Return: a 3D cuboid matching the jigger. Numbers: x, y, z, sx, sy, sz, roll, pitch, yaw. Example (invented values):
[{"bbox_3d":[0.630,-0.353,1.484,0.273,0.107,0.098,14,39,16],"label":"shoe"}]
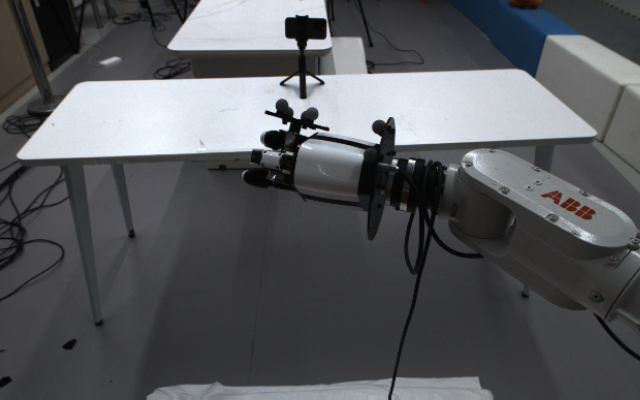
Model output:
[{"bbox_3d":[-0.044,-0.057,0.649,0.043,0.071,0.043,17,2,-1],"label":"jigger"}]
